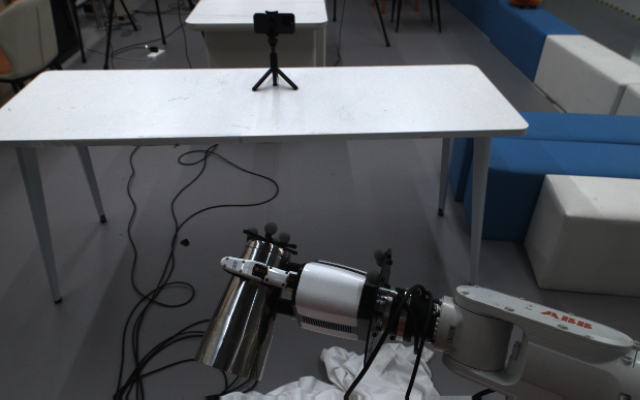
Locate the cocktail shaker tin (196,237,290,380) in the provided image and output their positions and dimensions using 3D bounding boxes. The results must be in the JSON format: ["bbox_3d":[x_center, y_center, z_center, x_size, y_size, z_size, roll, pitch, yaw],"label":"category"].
[{"bbox_3d":[-0.097,0.144,0.661,0.093,0.093,0.170,13,71,16],"label":"cocktail shaker tin"}]
